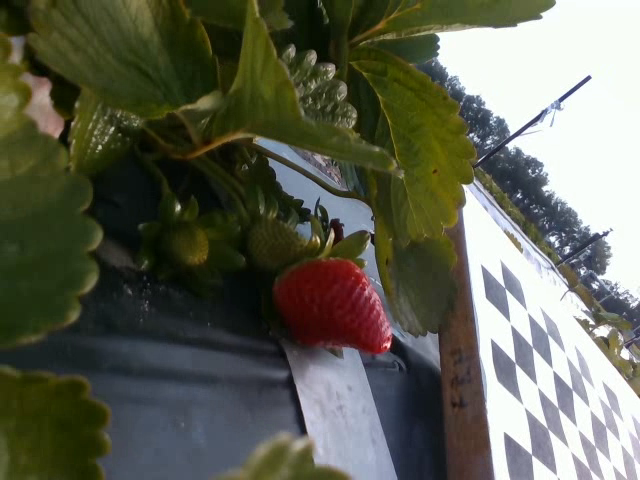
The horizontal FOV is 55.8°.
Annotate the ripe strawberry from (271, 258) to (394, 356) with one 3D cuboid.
[{"bbox_3d":[0.011,0.024,0.200,0.035,0.055,0.050,-35,-52,12],"label":"ripe strawberry"}]
